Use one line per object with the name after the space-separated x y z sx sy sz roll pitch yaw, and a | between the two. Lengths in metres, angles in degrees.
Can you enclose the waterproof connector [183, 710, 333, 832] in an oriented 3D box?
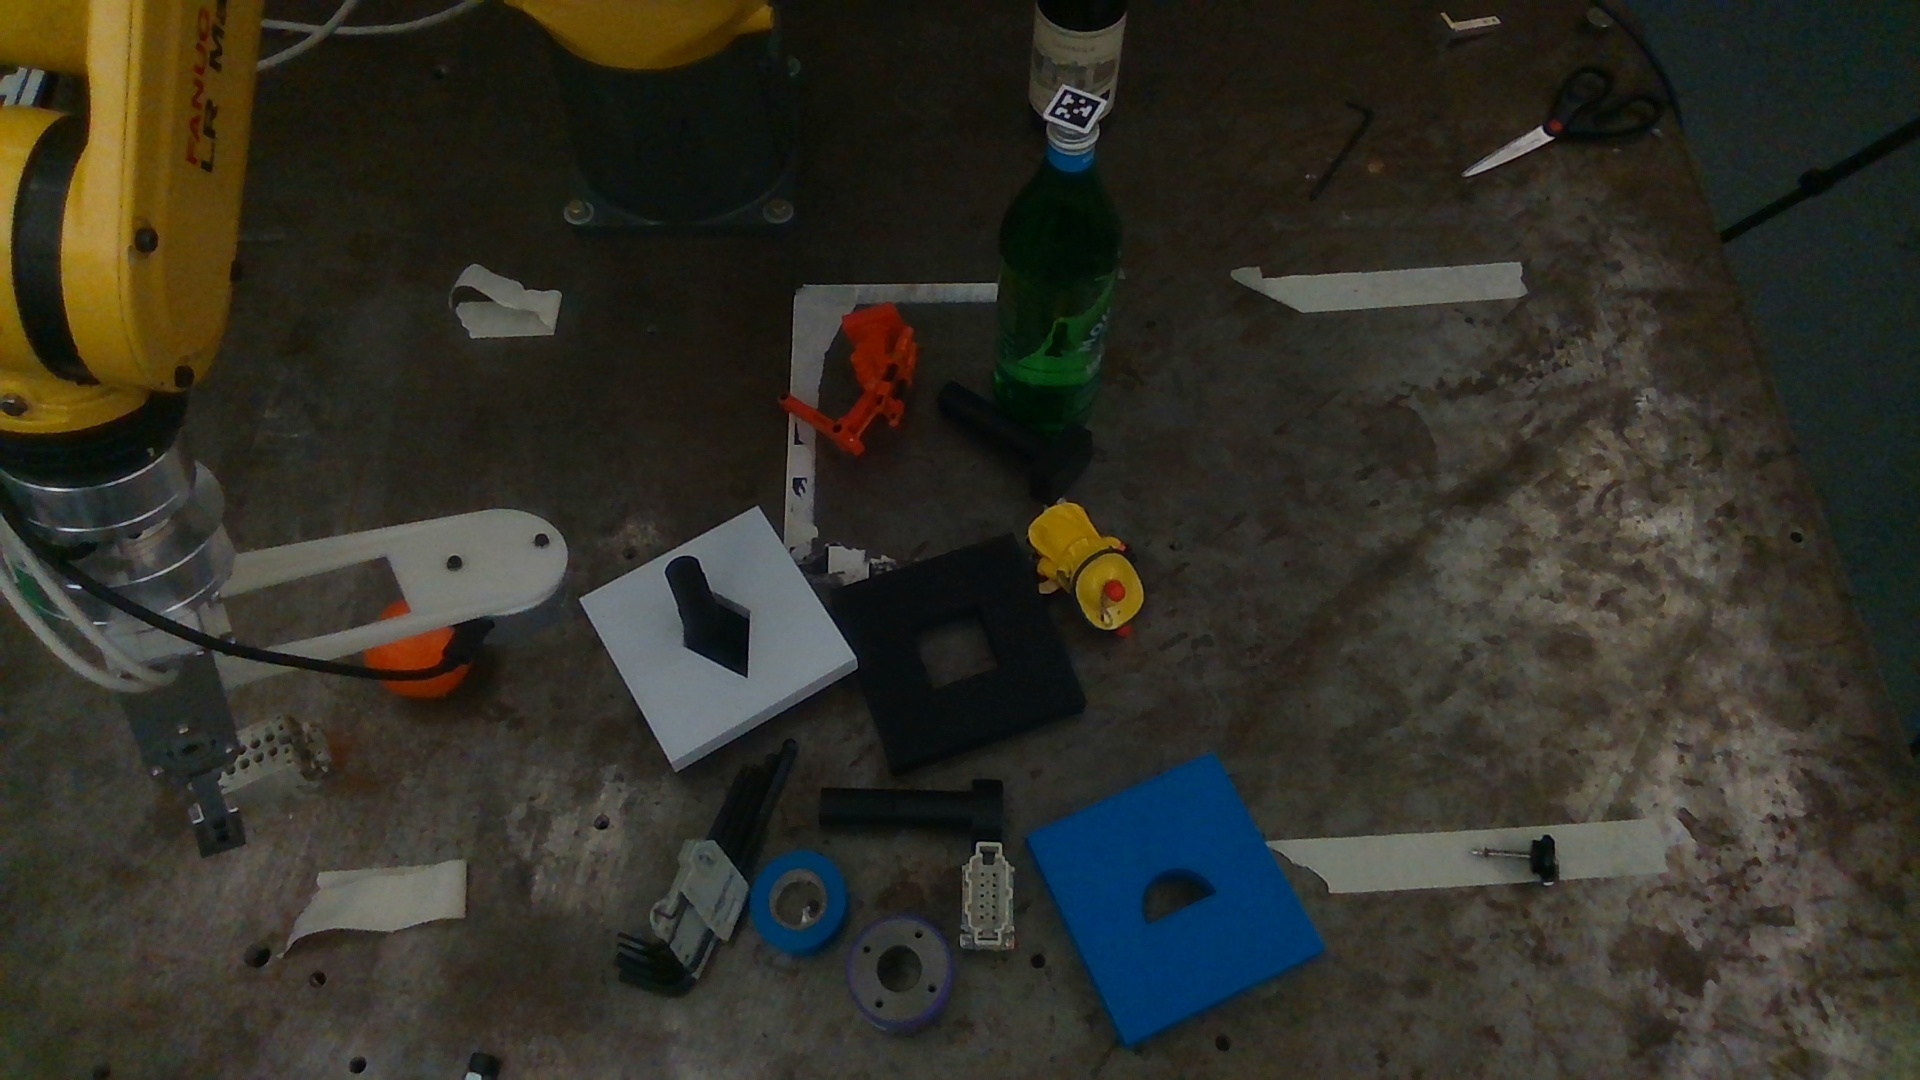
-0.364 0.119 0.718 0.069 0.038 0.037 -27 57 -14 | waterproof connector
